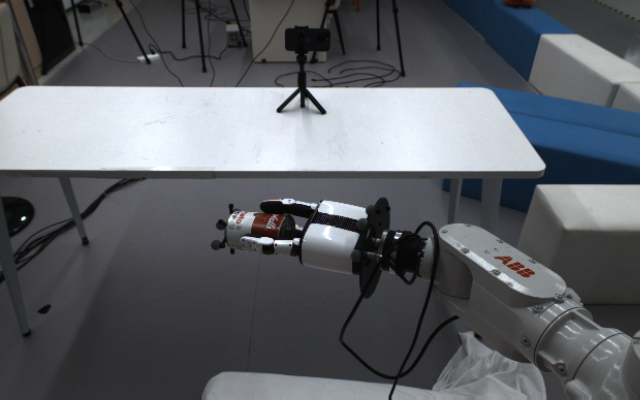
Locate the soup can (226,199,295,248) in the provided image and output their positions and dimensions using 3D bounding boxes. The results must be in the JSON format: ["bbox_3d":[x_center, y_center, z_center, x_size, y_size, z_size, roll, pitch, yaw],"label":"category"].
[{"bbox_3d":[-0.099,0.056,0.814,0.101,0.067,0.067,4,34,20],"label":"soup can"}]
